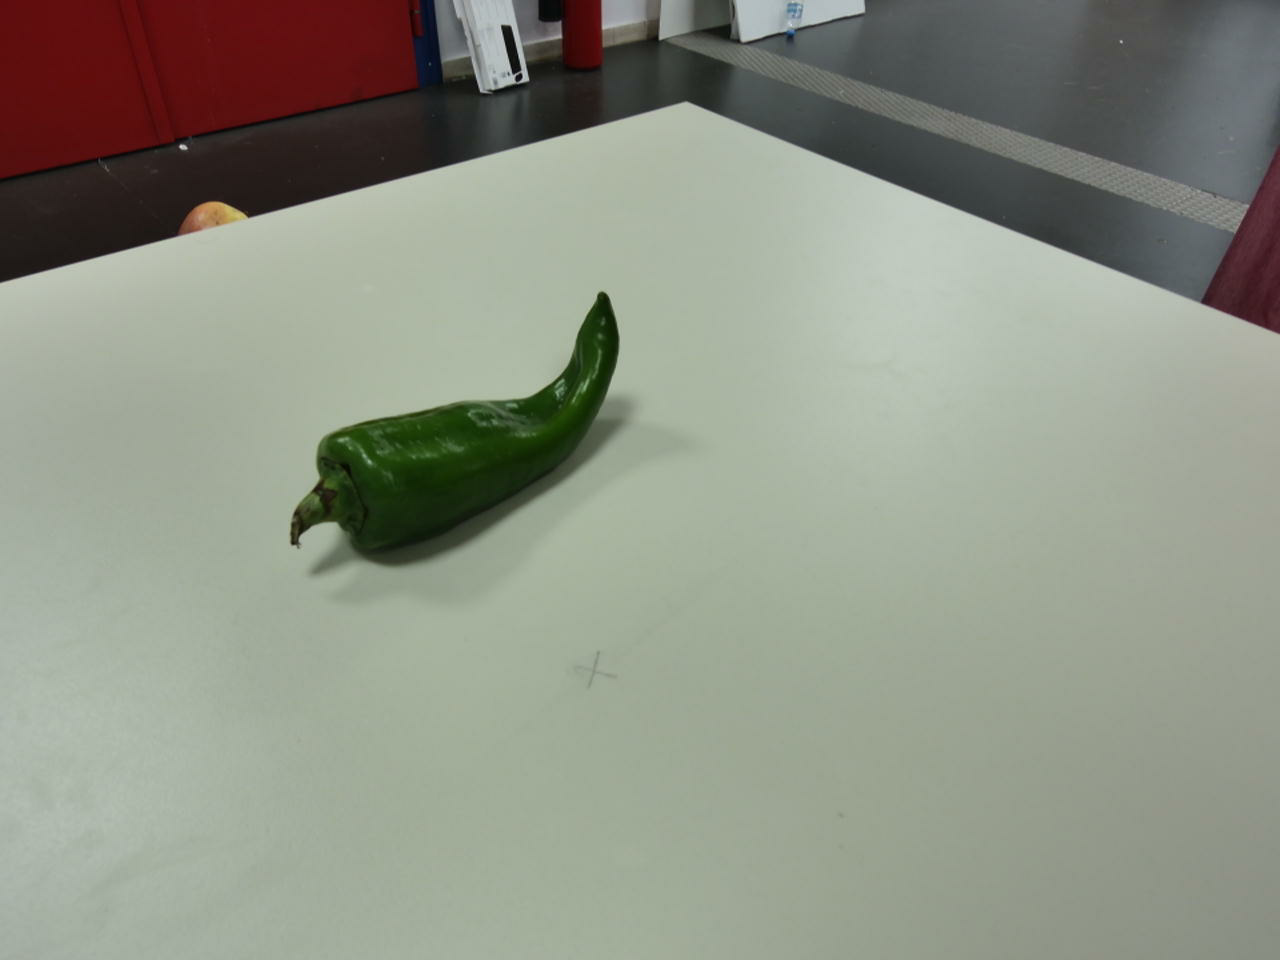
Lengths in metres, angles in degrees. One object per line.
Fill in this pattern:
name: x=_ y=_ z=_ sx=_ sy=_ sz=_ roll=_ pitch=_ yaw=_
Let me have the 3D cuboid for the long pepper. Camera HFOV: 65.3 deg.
long pepper: x=-0.071 y=-0.023 z=0.426 sx=0.175 sy=0.065 sz=0.058 roll=-28 pitch=45 yaw=-33
